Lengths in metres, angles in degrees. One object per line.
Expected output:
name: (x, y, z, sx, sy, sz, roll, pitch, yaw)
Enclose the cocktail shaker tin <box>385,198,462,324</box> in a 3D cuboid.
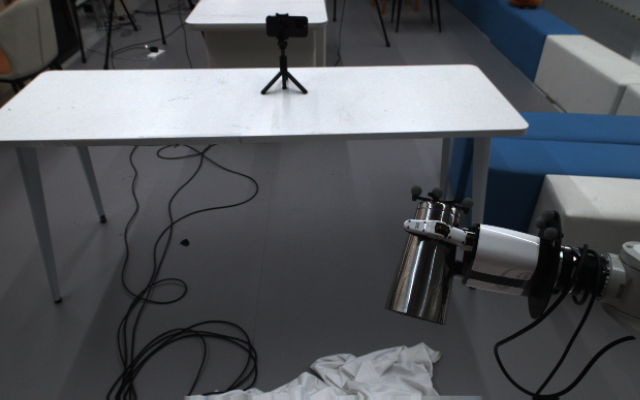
cocktail shaker tin: (0.165, 0.089, 0.731, 0.093, 0.093, 0.170, 13, 77, 15)
